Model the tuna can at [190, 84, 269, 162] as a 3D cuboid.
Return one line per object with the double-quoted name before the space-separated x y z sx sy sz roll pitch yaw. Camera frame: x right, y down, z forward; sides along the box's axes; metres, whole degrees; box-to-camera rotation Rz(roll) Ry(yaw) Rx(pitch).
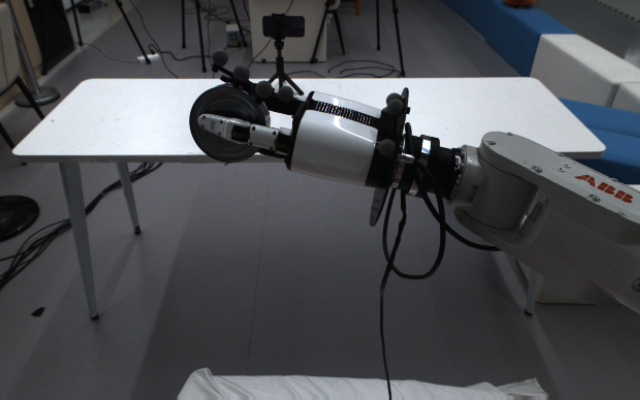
"tuna can" -0.099 -0.088 0.547 0.085 0.085 0.034 4 20 3
